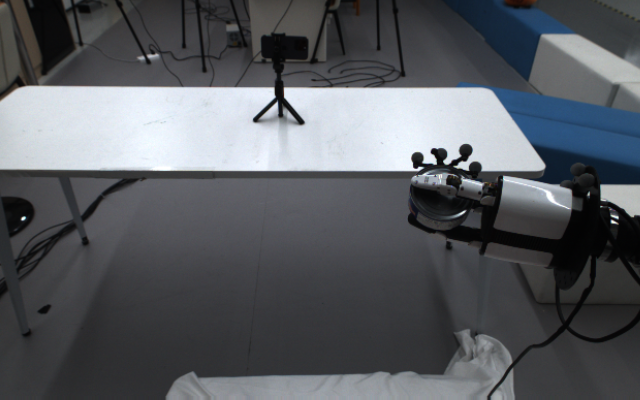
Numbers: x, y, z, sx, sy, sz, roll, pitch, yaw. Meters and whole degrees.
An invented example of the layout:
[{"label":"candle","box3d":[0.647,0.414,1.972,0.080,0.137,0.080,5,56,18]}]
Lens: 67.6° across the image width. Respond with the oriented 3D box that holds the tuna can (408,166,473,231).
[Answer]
[{"label":"tuna can","box3d":[0.162,-0.010,0.648,0.085,0.034,0.085,-2,57,3]}]
